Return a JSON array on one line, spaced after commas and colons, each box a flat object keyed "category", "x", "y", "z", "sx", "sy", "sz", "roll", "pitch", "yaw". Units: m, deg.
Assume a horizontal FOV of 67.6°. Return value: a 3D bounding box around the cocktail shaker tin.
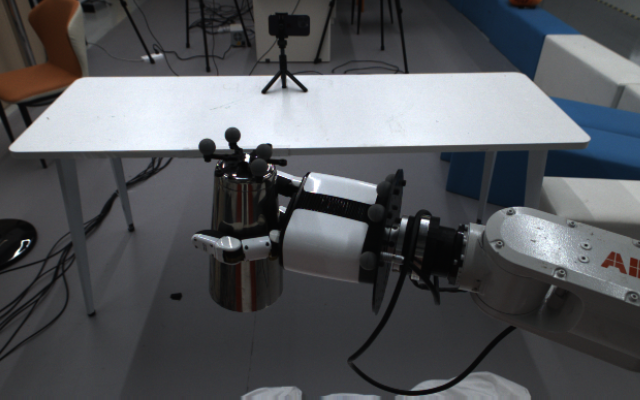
[{"category": "cocktail shaker tin", "x": -0.085, "y": 0.036, "z": 0.561, "sx": 0.093, "sy": 0.170, "sz": 0.093, "roll": 4, "pitch": 32, "yaw": -2}]
